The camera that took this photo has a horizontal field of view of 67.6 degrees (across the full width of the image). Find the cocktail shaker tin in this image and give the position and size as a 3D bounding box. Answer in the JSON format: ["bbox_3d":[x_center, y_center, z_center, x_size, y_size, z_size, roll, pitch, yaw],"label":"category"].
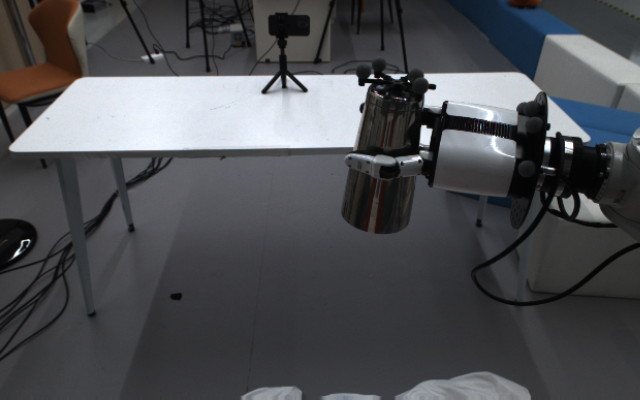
[{"bbox_3d":[0.081,-0.054,0.599,0.093,0.170,0.093,4,32,-2],"label":"cocktail shaker tin"}]
